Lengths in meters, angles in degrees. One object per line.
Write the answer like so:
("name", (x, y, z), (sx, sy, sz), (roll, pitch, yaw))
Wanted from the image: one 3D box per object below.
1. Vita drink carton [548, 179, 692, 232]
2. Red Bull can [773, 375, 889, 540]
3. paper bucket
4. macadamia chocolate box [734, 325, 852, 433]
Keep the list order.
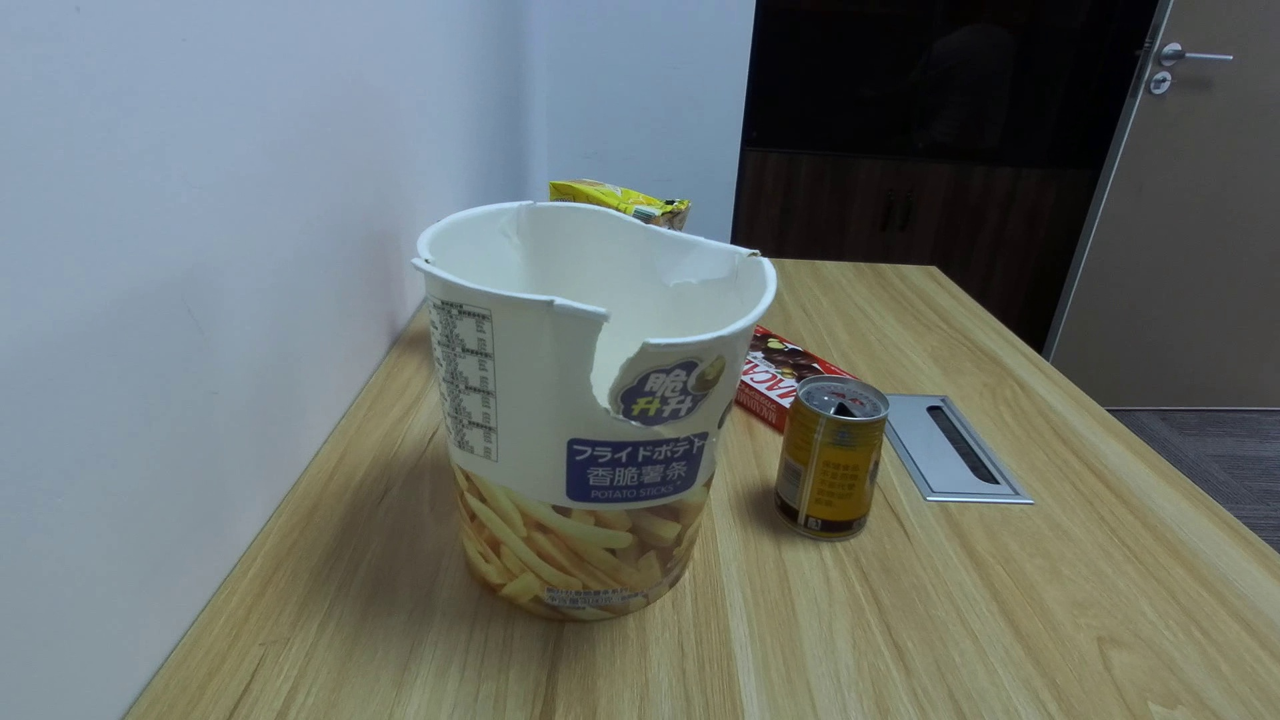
("Vita drink carton", (-0.017, -0.125, 0.609), (0.108, 0.042, 0.087), (16, 20, 18))
("Red Bull can", (0.127, 0.063, 0.471), (0.068, 0.093, 0.068), (3, 27, -1))
("paper bucket", (-0.032, 0.026, 0.407), (0.202, 0.197, 0.146), (18, 31, 27))
("macadamia chocolate box", (0.113, 0.010, 0.656), (0.096, 0.027, 0.177), (-15, 31, -29))
